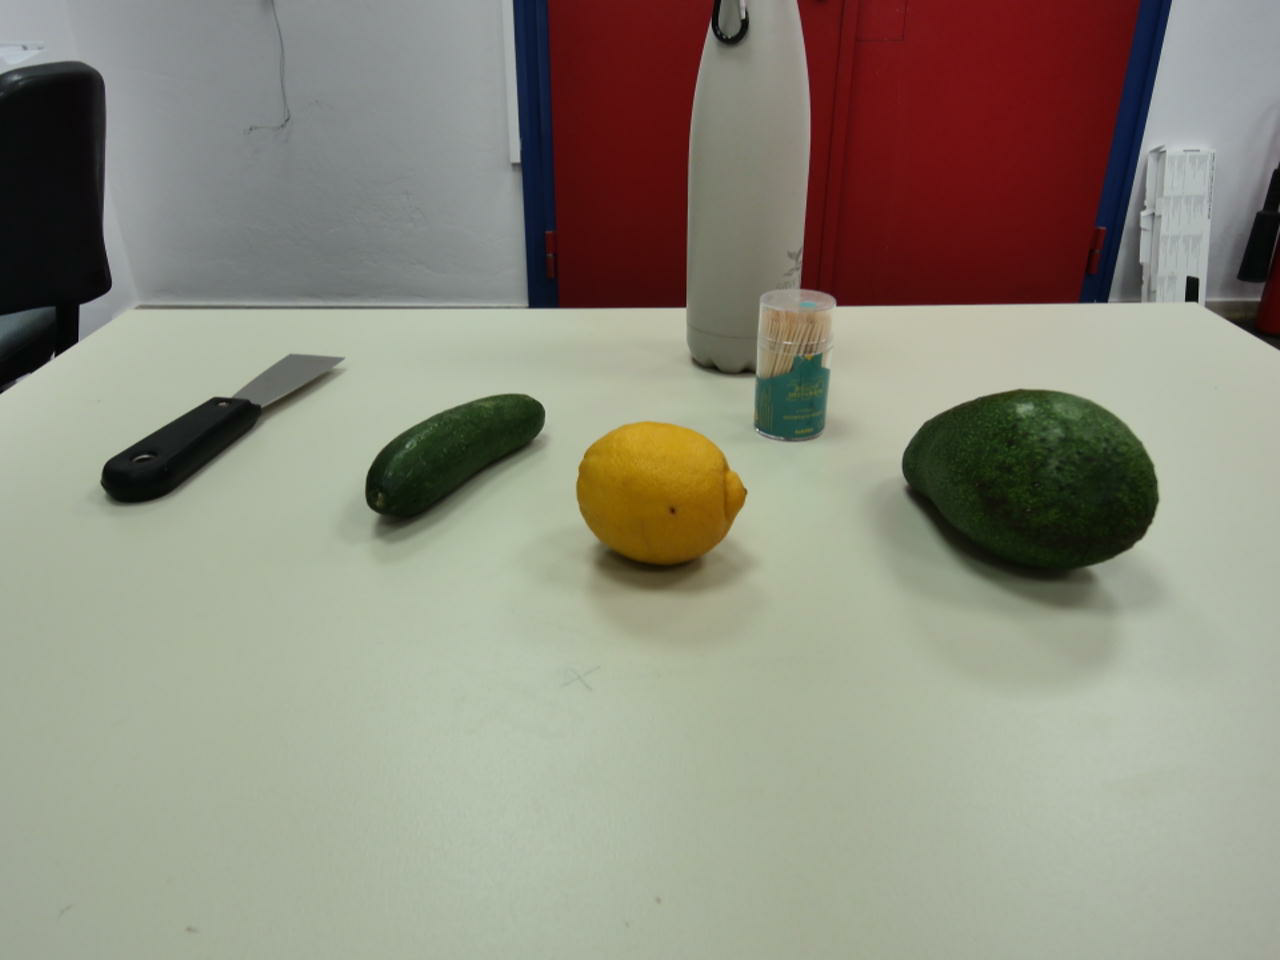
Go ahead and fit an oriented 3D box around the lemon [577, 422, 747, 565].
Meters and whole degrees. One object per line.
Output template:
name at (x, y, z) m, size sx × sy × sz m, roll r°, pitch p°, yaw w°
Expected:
lemon at (0.007, 0.006, 0.423) m, size 0.067 × 0.059 × 0.060 m, roll 20°, pitch 31°, yaw 38°
